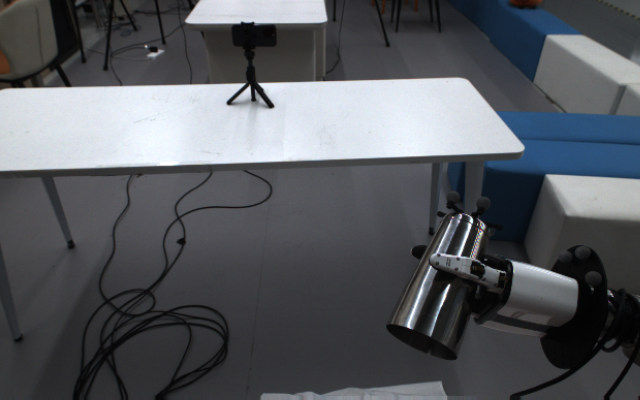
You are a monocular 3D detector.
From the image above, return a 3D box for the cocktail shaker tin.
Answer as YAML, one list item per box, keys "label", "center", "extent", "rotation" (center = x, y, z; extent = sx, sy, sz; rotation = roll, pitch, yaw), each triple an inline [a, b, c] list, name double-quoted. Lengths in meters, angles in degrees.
- label: "cocktail shaker tin"
  center: [0.164, 0.102, 0.619]
  extent: [0.093, 0.093, 0.170]
  rotation: [17, 67, 21]
